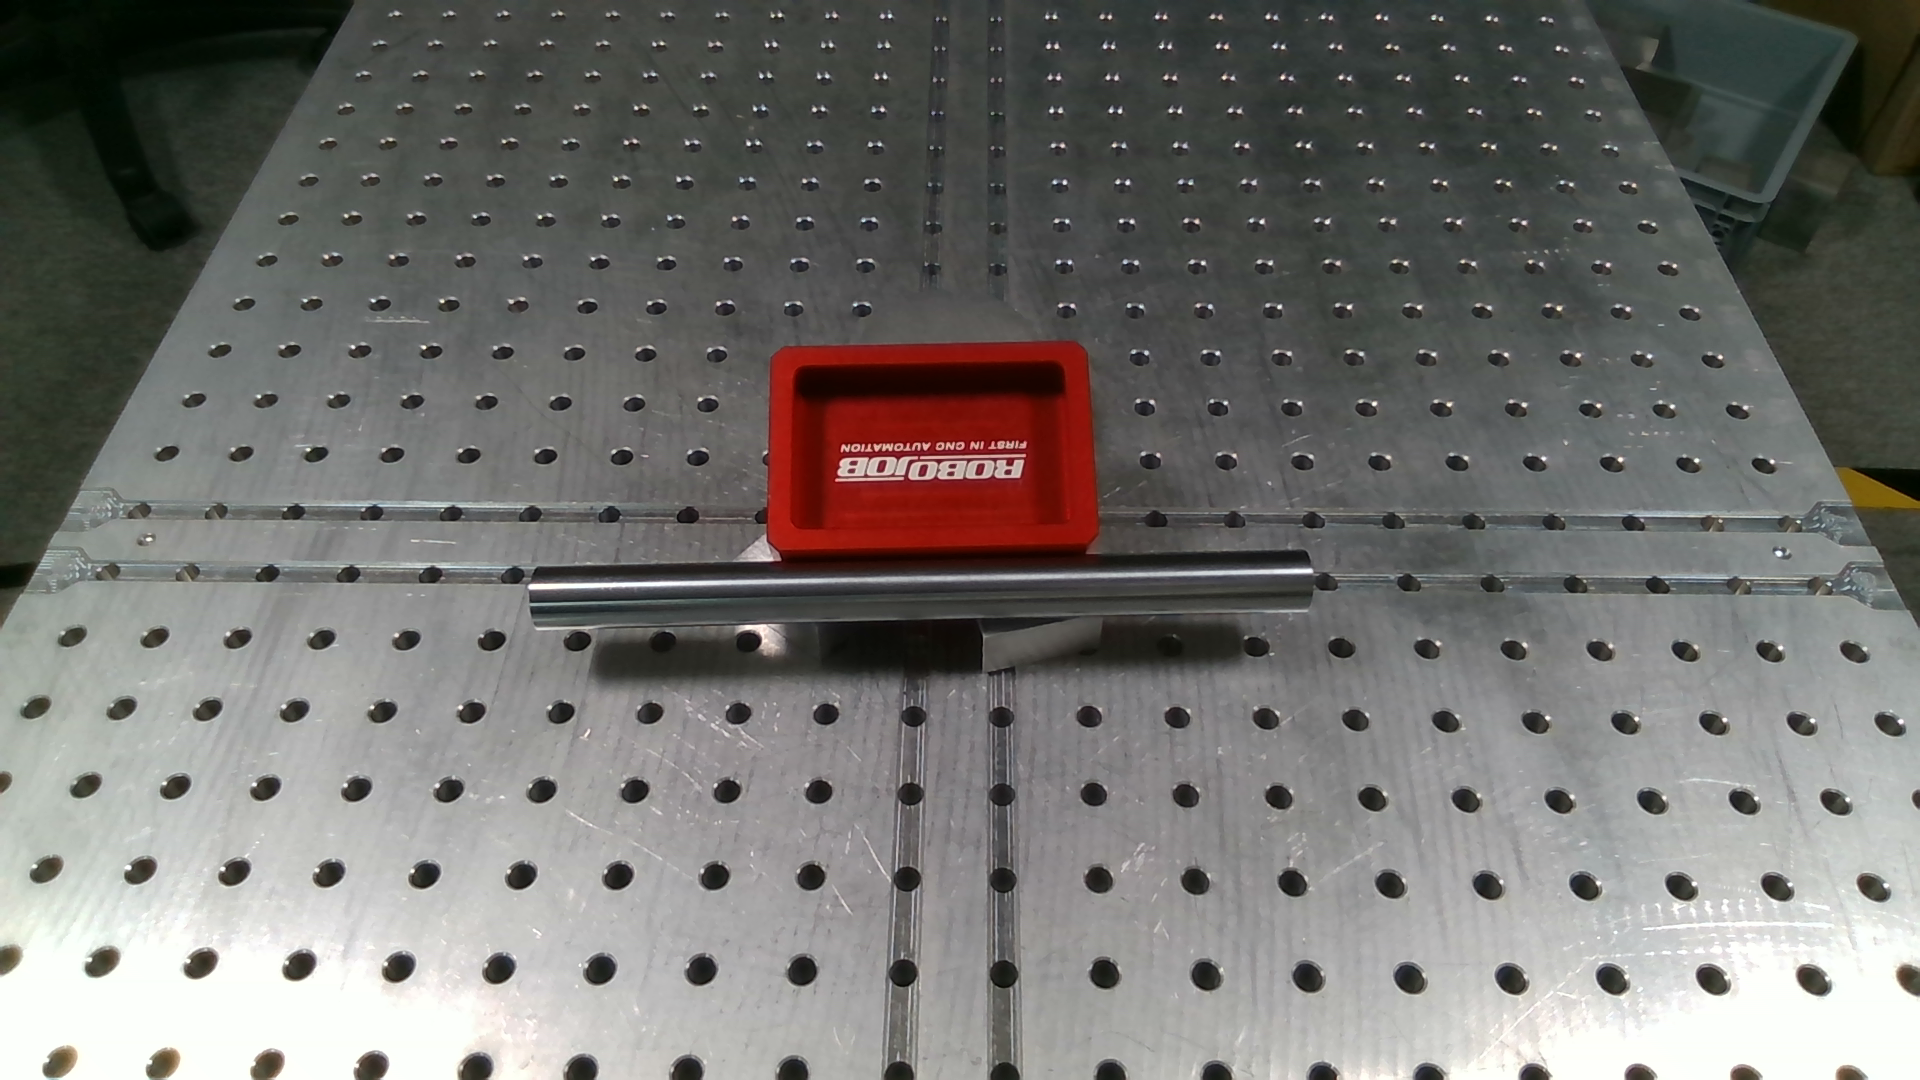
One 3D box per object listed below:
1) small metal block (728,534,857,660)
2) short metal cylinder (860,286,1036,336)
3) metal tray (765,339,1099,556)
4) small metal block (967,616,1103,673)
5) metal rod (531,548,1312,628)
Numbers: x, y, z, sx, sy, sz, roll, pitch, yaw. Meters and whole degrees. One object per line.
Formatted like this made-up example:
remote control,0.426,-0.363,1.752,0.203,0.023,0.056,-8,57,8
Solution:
small metal block,-0.062,0.014,0.577,0.050,0.025,0.050,32,57,24
short metal cylinder,-0.005,-0.071,0.632,0.080,0.050,0.080,0,50,0
metal tray,-0.012,-0.034,0.563,0.130,0.030,0.090,-1,70,-1
small metal block,0.027,0.023,0.572,0.050,0.025,0.050,-12,51,-10
metal rod,-0.014,0.019,0.541,0.300,0.025,0.025,-1,50,-1
